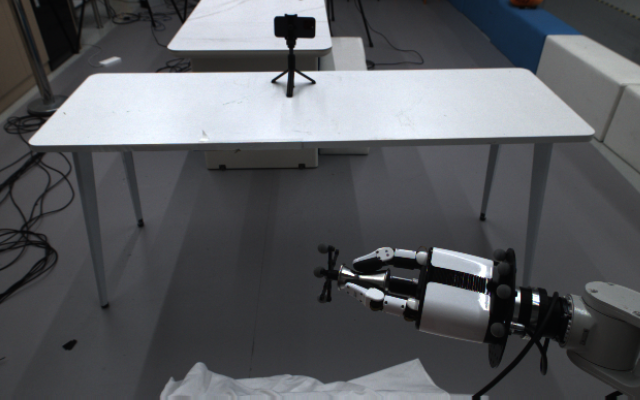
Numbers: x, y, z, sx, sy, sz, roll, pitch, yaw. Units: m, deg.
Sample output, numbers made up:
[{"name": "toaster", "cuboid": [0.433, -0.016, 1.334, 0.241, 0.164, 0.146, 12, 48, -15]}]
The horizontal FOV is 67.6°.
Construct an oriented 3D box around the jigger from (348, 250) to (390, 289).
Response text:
[{"name": "jigger", "cuboid": [0.069, 0.111, 0.690, 0.071, 0.043, 0.043, 7, 35, 17]}]
